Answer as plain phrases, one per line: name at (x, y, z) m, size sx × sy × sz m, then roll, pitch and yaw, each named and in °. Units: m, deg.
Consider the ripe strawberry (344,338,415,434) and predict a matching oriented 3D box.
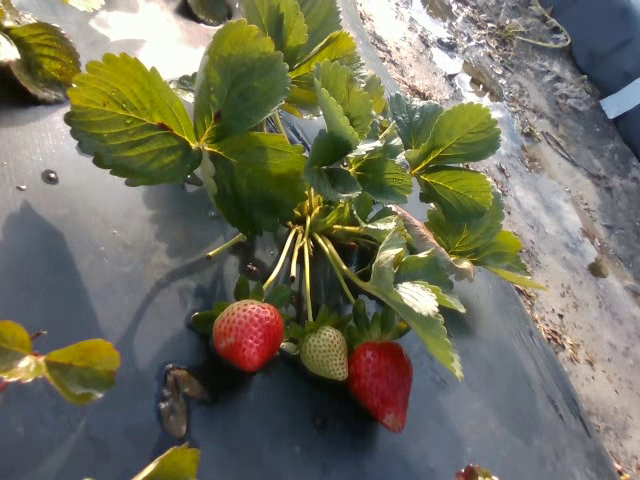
ripe strawberry at (0.041, 0.092, 0.387) m, size 0.049 × 0.064 × 0.050 m, roll -10°, pitch -28°, yaw 5°
